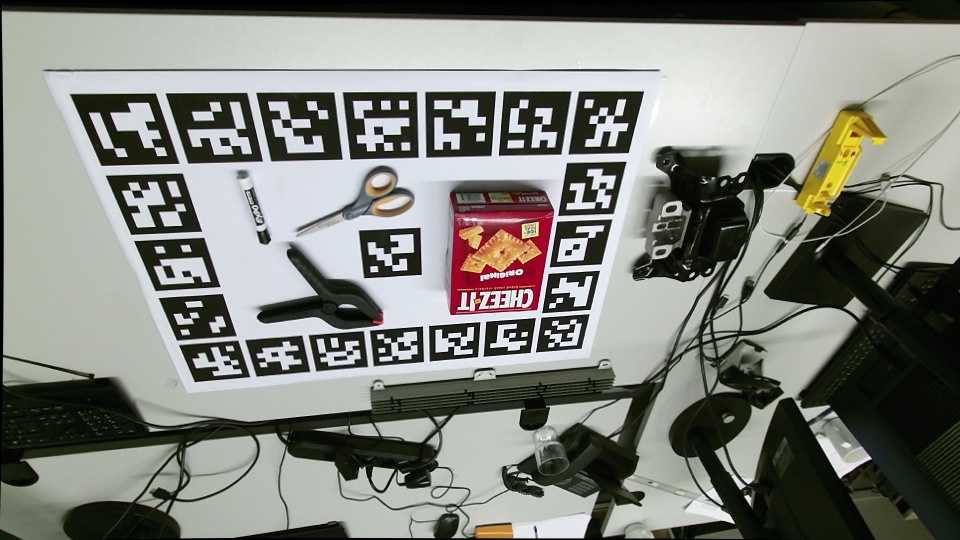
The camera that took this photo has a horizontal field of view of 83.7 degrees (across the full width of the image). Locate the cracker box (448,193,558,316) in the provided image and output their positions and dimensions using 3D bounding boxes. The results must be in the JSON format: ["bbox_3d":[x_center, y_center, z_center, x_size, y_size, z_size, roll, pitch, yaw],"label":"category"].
[{"bbox_3d":[0.032,-0.023,0.917,0.165,0.071,0.213,-3,128,-10],"label":"cracker box"}]

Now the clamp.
[{"bbox_3d":[-0.257,0.063,0.959,0.203,0.036,0.165,23,121,-26],"label":"clamp"}]

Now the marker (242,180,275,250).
[{"bbox_3d":[-0.338,-0.081,0.823,0.020,0.019,0.121,-7,129,-7],"label":"marker"}]

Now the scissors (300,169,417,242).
[{"bbox_3d":[-0.198,-0.087,0.850,0.203,0.016,0.088,-25,129,11],"label":"scissors"}]
